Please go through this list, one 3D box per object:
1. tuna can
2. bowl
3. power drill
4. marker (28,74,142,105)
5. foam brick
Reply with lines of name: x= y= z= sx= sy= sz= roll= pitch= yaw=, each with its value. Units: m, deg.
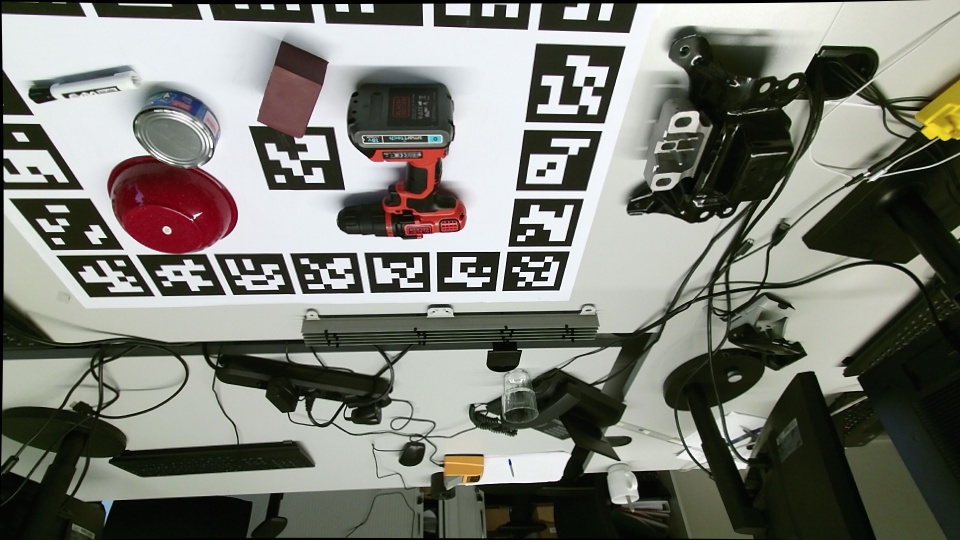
tuna can: x=-0.354 y=-0.160 z=0.632 sx=0.086 sy=0.033 sz=0.086 roll=-1 pitch=138 yaw=-1
bowl: x=-0.412 y=-0.073 z=0.724 sx=0.162 sy=0.055 sz=0.162 roll=-5 pitch=145 yaw=-3
power drill: x=-0.097 y=-0.123 z=0.688 sx=0.185 sy=0.057 sz=0.187 roll=1 pitch=140 yaw=-1
marker: x=-0.437 y=-0.199 z=0.591 sx=0.121 sy=0.019 sz=0.020 roll=-7 pitch=137 yaw=3
foam brick: x=-0.206 y=-0.201 z=0.598 sx=0.051 sy=0.052 sz=0.078 roll=18 pitch=132 yaw=-21
